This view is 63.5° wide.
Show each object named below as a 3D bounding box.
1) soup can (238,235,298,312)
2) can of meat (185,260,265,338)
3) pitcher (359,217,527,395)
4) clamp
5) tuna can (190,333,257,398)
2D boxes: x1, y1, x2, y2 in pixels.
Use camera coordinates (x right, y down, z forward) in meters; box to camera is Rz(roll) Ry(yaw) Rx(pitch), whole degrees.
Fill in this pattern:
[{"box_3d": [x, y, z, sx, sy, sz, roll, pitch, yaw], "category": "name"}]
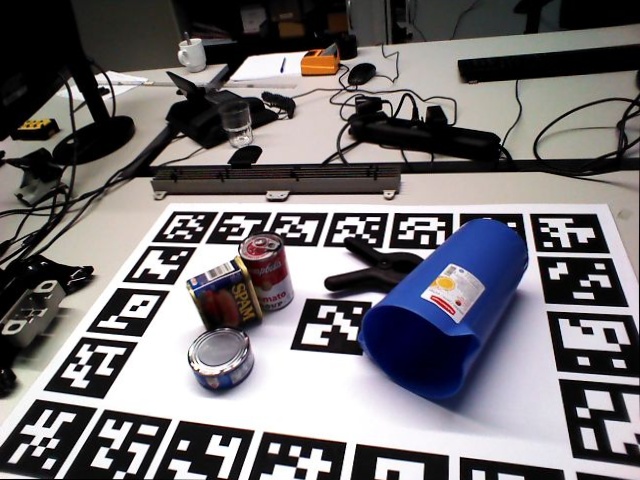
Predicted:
[{"box_3d": [-0.077, 0.052, 0.786, 0.068, 0.102, 0.067, -10, 38, 7], "category": "soup can"}, {"box_3d": [-0.137, 0.091, 0.744, 0.083, 0.102, 0.058, -25, 40, -11], "category": "can of meat"}, {"box_3d": [0.171, 0.069, 0.663, 0.190, 0.133, 0.241, -7, 23, 44], "category": "pitcher"}, {"box_3d": [0.093, 0.048, 0.813, 0.166, 0.037, 0.121, 4, 35, 14], "category": "clamp"}, {"box_3d": [-0.130, 0.169, 0.700, 0.086, 0.034, 0.085, -8, 39, 6], "category": "tuna can"}]
